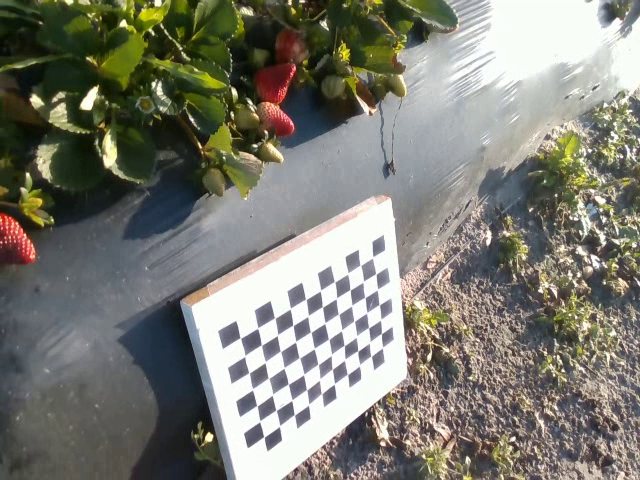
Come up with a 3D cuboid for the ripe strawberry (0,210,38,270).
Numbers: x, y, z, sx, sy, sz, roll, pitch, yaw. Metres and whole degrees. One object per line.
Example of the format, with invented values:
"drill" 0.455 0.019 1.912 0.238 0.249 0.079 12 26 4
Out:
"ripe strawberry" -0.253 0.006 0.508 0.051 0.052 0.041 28 -18 14
